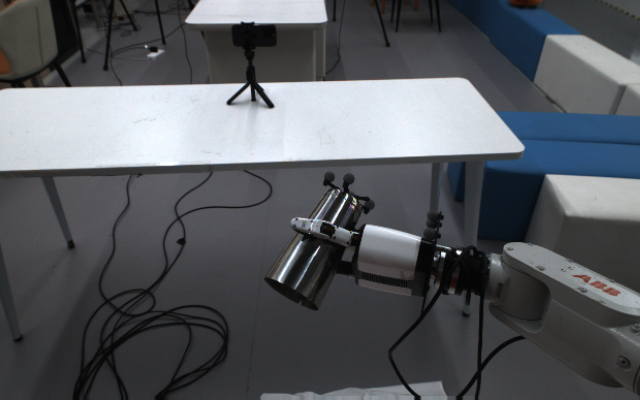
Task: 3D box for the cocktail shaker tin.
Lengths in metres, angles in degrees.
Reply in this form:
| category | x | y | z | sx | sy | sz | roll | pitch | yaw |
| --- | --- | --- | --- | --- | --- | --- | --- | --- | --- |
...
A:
| category | x | y | z | sx | sy | sz | roll | pitch | yaw |
| --- | --- | --- | --- | --- | --- | --- | --- | --- | --- |
| cocktail shaker tin | 0.000 | 0.066 | 0.733 | 0.093 | 0.093 | 0.170 | 20 | 67 | 24 |
